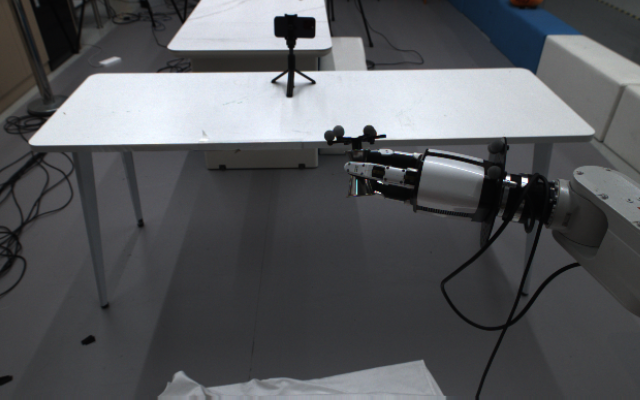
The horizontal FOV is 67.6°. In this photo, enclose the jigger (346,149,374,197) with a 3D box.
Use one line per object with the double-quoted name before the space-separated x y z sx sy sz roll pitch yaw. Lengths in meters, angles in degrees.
"jigger" 0.057 -0.041 0.723 0.043 0.071 0.043 -4 1 0
